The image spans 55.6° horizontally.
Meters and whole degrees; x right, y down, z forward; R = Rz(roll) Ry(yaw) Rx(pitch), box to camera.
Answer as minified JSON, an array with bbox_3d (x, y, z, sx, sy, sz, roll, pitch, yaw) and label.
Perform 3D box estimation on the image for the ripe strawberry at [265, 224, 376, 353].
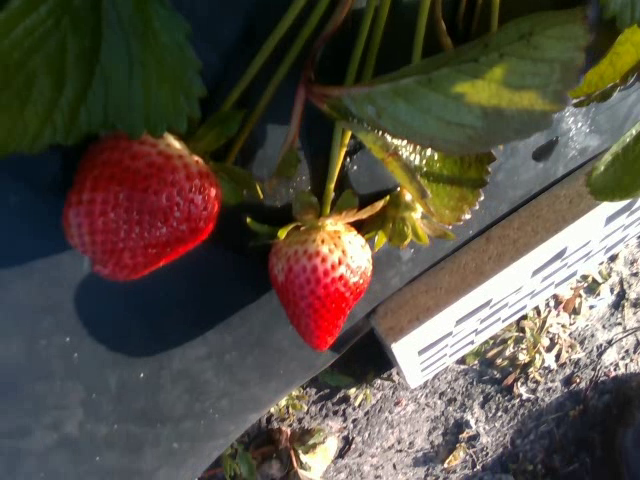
[{"bbox_3d":[0.002,0.019,0.214,0.043,0.053,0.038,-12,17,-42],"label":"ripe strawberry"}]

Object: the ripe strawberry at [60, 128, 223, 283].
[{"bbox_3d":[-0.049,-0.011,0.176,0.039,0.054,0.048,31,-28,14],"label":"ripe strawberry"}]
